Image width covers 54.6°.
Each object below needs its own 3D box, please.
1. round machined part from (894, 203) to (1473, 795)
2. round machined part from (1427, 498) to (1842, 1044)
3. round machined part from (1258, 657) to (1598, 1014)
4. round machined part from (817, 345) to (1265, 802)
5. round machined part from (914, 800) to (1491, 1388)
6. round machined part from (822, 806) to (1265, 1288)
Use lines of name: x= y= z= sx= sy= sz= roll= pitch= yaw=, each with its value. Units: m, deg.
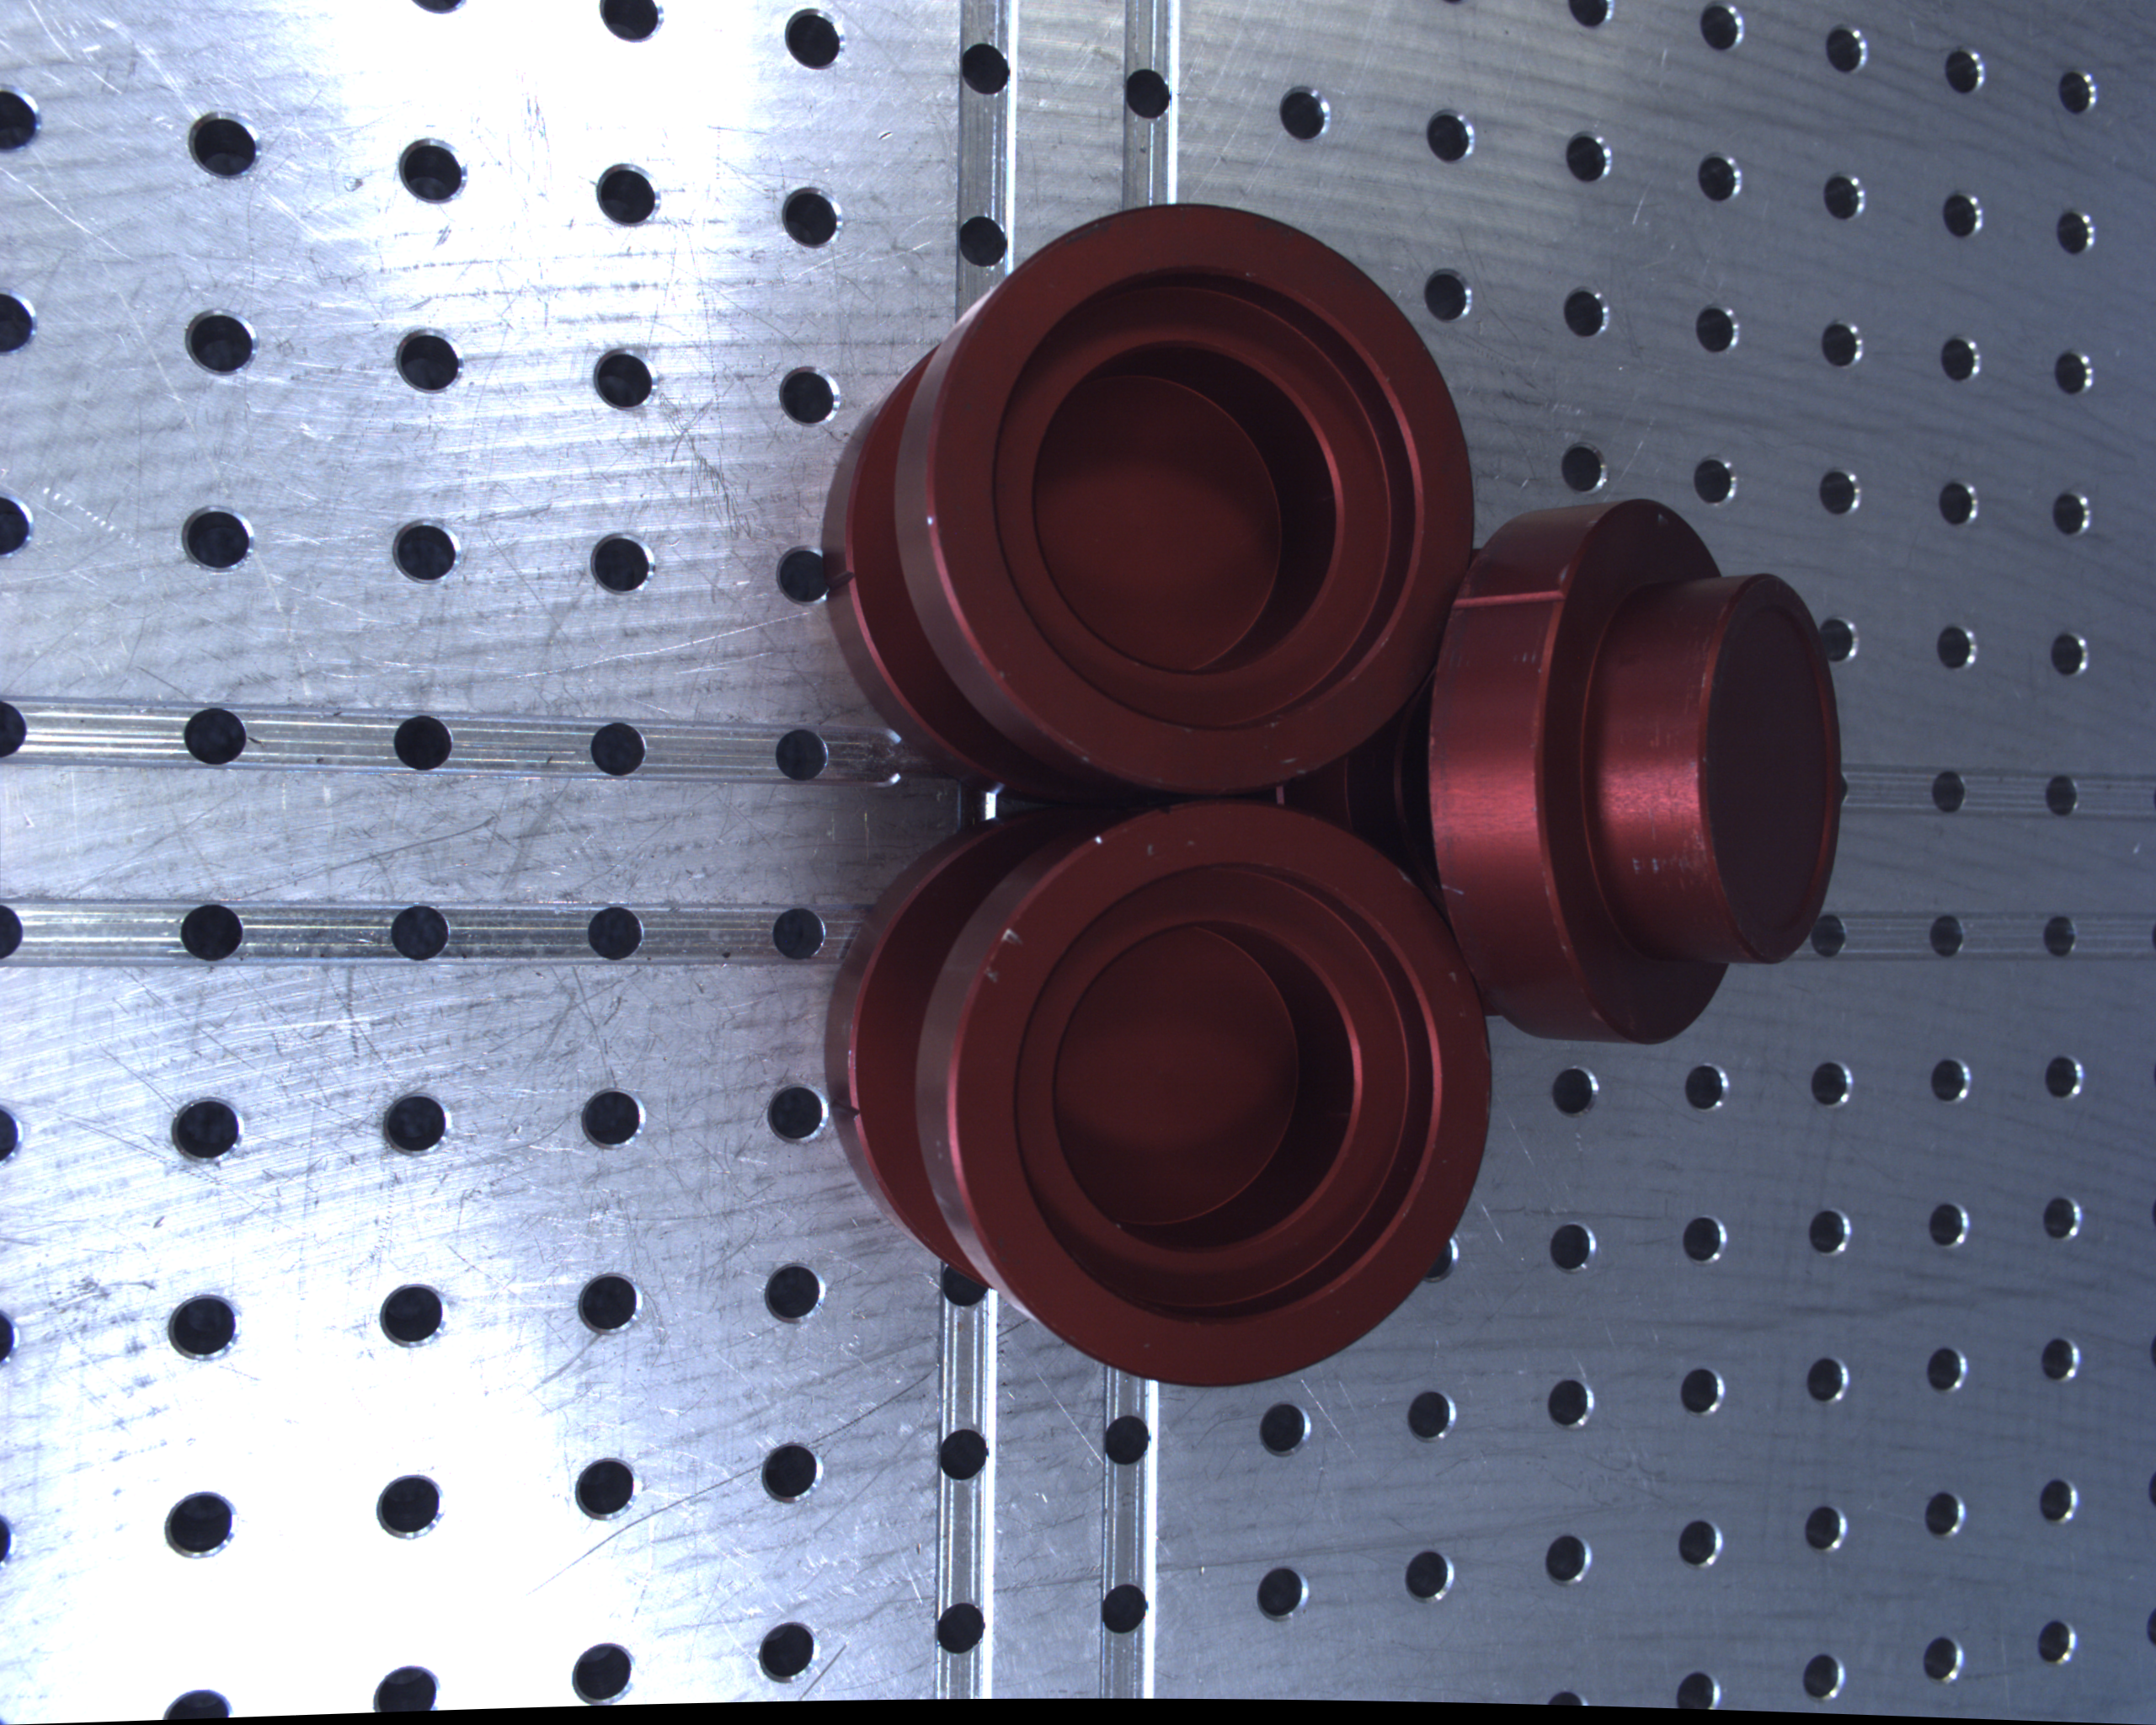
round machined part: x=0.015 y=-0.060 z=0.364 sx=0.099 sy=0.042 sz=0.097 roll=0 pitch=90 yaw=-20
round machined part: x=0.105 y=-0.016 z=0.374 sx=0.099 sy=0.042 sz=0.097 roll=1 pitch=89 yaw=-52
round machined part: x=0.087 y=-0.017 z=0.435 sx=0.099 sy=0.042 sz=0.097 roll=0 pitch=90 yaw=-20
round machined part: x=0.002 y=-0.060 z=0.405 sx=0.099 sy=0.042 sz=0.097 roll=0 pitch=90 yaw=-20
round machined part: x=0.019 y=0.038 z=0.365 sx=0.099 sy=0.042 sz=0.097 roll=0 pitch=90 yaw=-20
round machined part: x=0.003 y=0.038 z=0.405 sx=0.099 sy=0.042 sz=0.097 roll=0 pitch=90 yaw=-20
